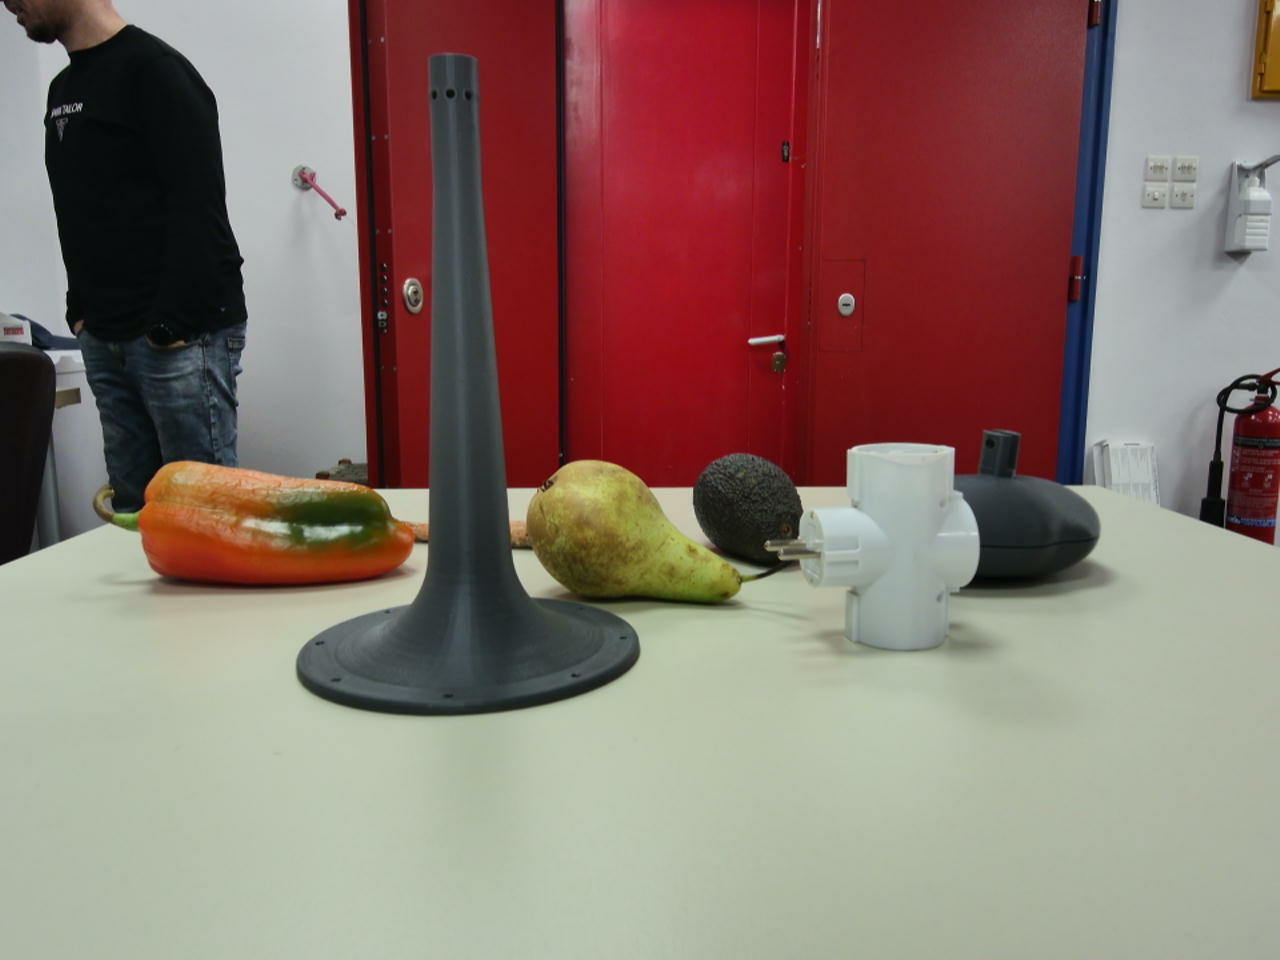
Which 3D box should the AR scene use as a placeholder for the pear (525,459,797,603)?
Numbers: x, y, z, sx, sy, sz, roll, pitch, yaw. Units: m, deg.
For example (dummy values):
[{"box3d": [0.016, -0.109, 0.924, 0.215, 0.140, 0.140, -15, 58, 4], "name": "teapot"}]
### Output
[{"box3d": [0.010, 0.027, 0.540, 0.144, 0.075, 0.071, 0, 7, 7], "name": "pear"}]
